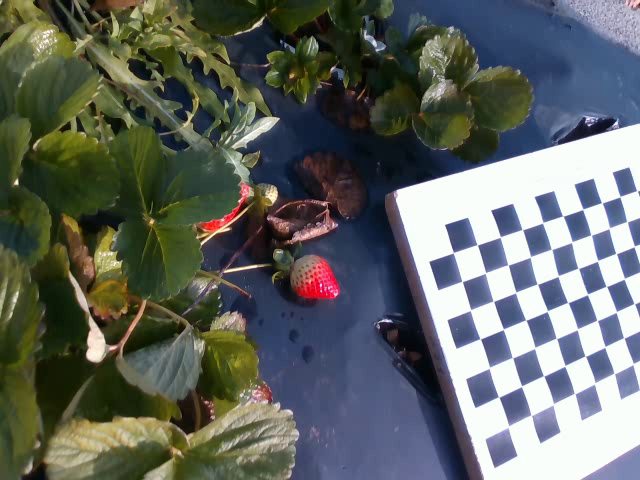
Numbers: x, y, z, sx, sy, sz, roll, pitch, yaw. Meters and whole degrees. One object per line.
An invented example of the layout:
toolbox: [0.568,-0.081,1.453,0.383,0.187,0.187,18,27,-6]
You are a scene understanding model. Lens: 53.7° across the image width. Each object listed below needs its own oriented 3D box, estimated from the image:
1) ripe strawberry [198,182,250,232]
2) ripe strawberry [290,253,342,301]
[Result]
ripe strawberry: [-0.070,-0.027,0.430,0.049,0.040,0.032,-29,4,18]
ripe strawberry: [-0.003,0.030,0.452,0.043,0.035,0.029,37,-21,-9]
